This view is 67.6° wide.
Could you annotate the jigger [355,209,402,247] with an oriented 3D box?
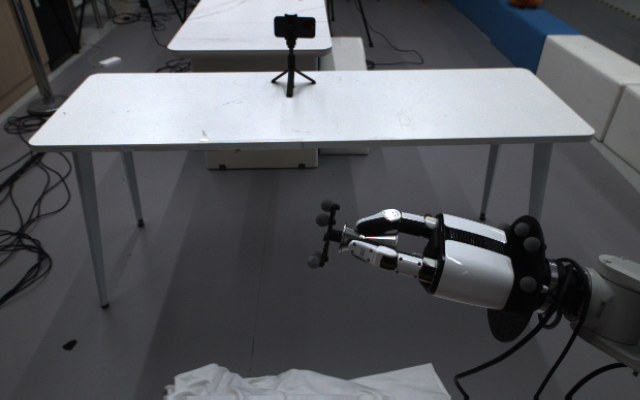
[{"bbox_3d":[0.067,0.051,0.609,0.071,0.043,0.043,12,36,5],"label":"jigger"}]
